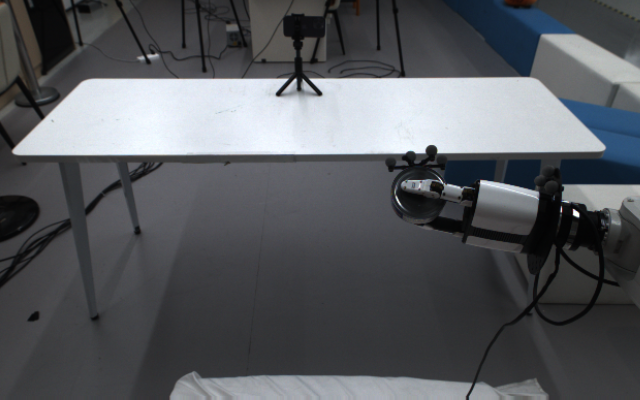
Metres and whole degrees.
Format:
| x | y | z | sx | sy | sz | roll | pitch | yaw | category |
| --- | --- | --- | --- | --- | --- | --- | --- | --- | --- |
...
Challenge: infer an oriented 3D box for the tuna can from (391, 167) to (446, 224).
| x | y | z | sx | sy | sz | roll | pitch | yaw | category |
| --- | --- | --- | --- | --- | --- | --- | --- | --- | --- |
| 0.152 | -0.008 | 0.745 | 0.085 | 0.034 | 0.085 | -3 | 68 | 6 | tuna can |
